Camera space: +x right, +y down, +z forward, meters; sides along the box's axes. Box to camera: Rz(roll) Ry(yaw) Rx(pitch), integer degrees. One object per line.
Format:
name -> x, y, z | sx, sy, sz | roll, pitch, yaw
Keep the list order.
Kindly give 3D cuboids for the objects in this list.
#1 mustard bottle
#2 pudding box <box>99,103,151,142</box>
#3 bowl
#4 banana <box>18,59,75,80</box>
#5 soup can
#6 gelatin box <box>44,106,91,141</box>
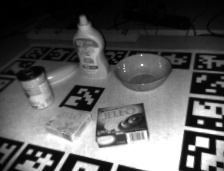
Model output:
mustard bottle -> -0.074, -0.130, 0.651 | 0.095, 0.193, 0.058 | 4, 37, 19
pudding box -> 0.027, 0.077, 0.503 | 0.114, 0.039, 0.089 | -10, 43, 0
bowl -> 0.093, -0.042, 0.634 | 0.161, 0.055, 0.161 | -7, 36, 6
banana -> -0.211, -0.046, 0.722 | 0.198, 0.039, 0.073 | -25, 29, -19
soup can -> -0.214, -0.007, 0.602 | 0.068, 0.103, 0.067 | -5, 37, 4
gelatin box -> -0.109, 0.088, 0.528 | 0.088, 0.030, 0.073 | 9, 44, 25
